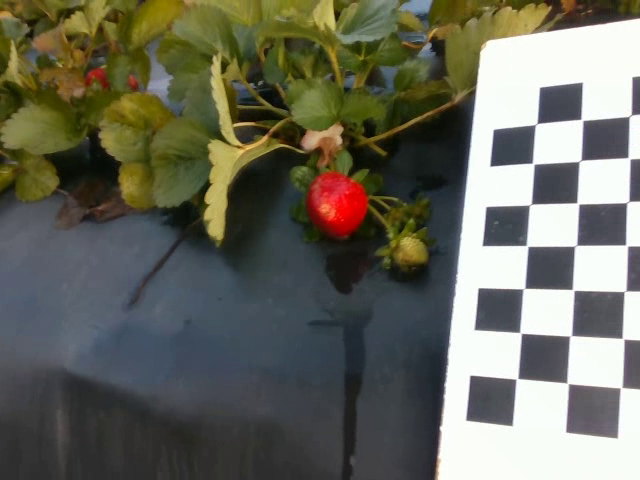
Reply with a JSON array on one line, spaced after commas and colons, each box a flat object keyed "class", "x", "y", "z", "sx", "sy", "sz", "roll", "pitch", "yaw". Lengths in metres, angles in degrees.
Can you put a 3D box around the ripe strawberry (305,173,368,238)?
[{"class": "ripe strawberry", "x": 0.009, "y": -0.022, "z": 0.418, "sx": 0.043, "sy": 0.052, "sz": 0.057, "roll": -29, "pitch": -1, "yaw": 20}]
